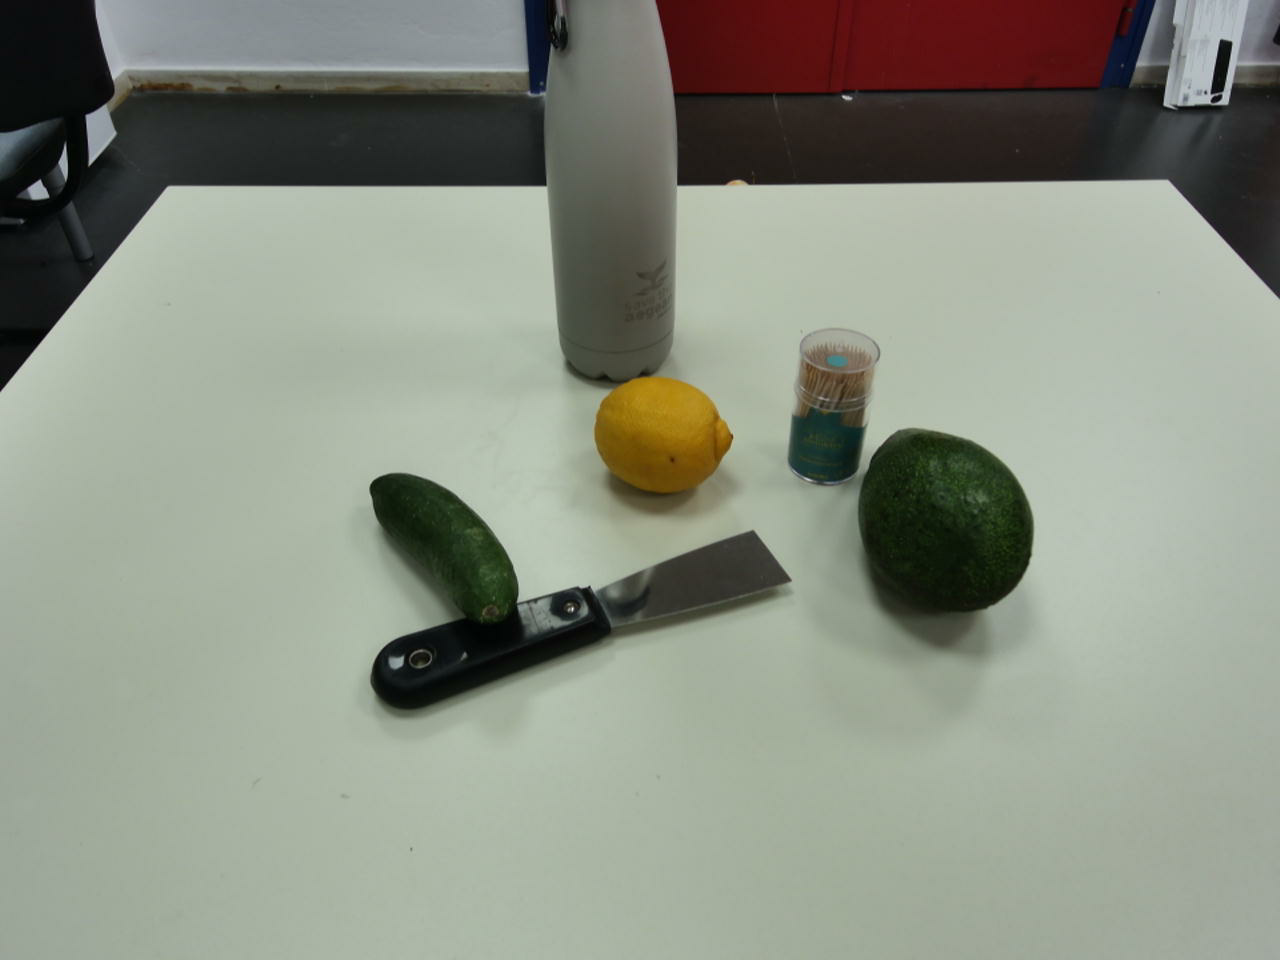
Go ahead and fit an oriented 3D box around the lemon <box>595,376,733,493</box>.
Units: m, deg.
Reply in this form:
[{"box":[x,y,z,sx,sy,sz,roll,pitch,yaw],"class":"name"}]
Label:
[{"box":[0.011,-0.023,0.520,0.067,0.059,0.060,29,48,32],"class":"lemon"}]
